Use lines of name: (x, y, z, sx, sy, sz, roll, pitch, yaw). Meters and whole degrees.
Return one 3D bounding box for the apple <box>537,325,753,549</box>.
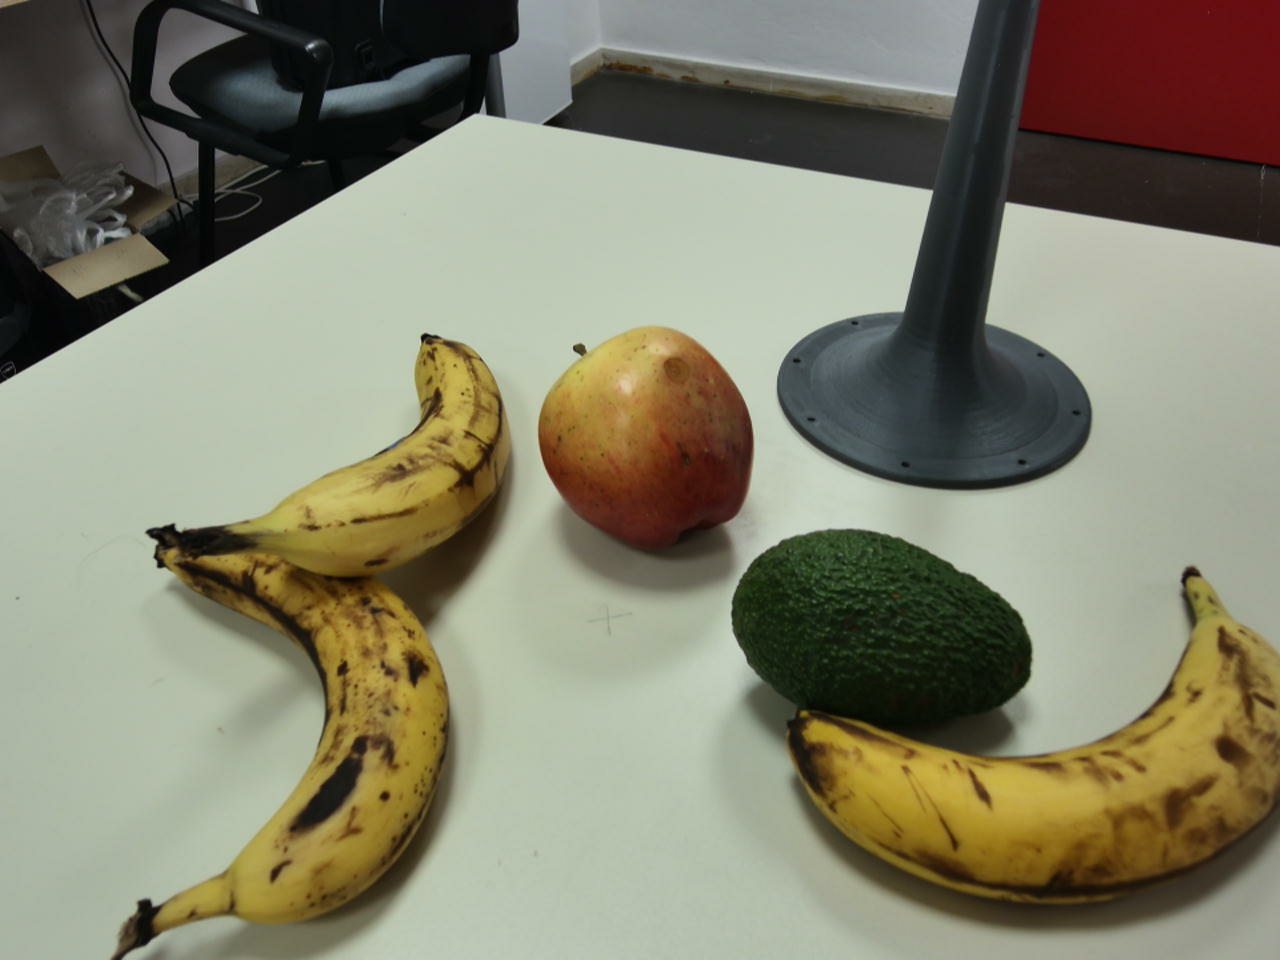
apple: (0.002, -0.018, 0.409, 0.086, 0.084, 0.093, -7, 37, -7)
